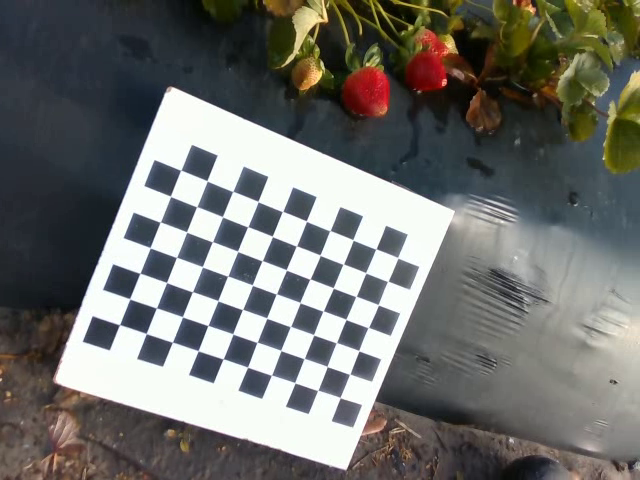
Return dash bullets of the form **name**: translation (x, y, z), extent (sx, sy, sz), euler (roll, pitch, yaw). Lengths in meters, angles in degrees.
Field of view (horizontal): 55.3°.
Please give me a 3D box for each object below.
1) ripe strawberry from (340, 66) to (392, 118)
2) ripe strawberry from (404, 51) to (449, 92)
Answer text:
- **ripe strawberry**: translation (0.048, -0.138, 0.571), extent (0.050, 0.050, 0.065), euler (-18, 46, -7)
- **ripe strawberry**: translation (0.111, -0.170, 0.621), extent (0.055, 0.044, 0.042), euler (46, -3, 38)
